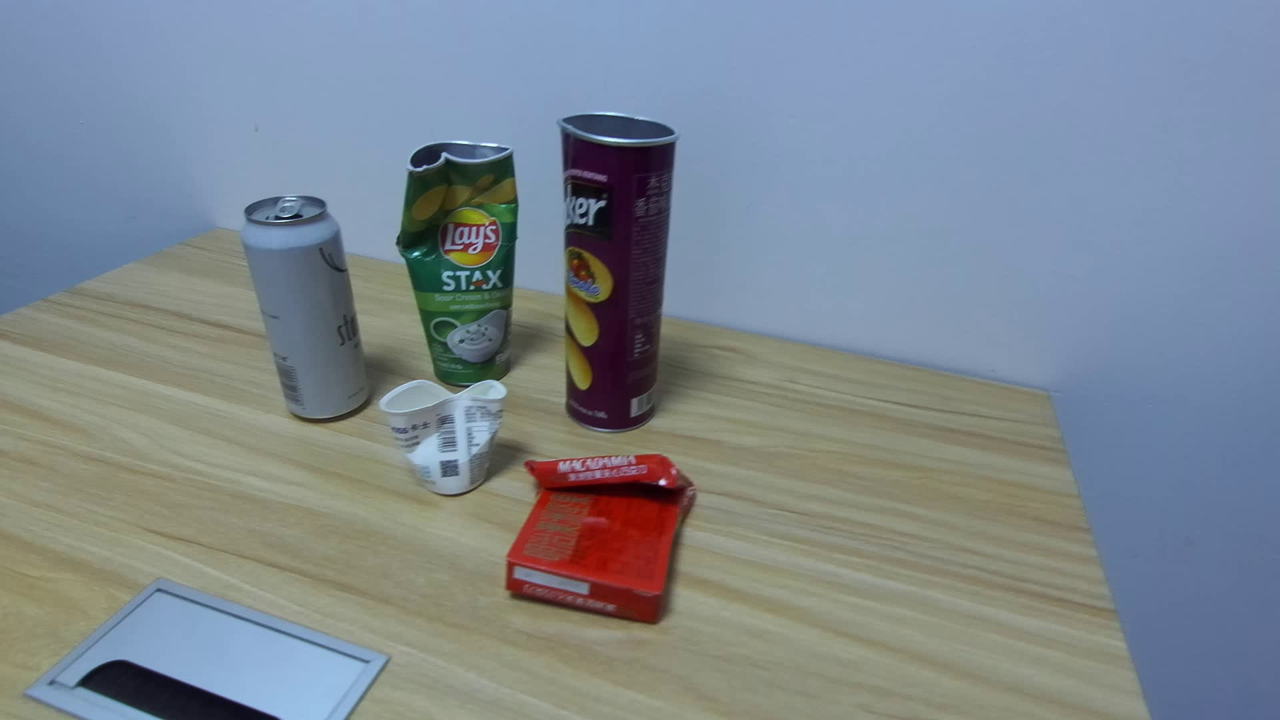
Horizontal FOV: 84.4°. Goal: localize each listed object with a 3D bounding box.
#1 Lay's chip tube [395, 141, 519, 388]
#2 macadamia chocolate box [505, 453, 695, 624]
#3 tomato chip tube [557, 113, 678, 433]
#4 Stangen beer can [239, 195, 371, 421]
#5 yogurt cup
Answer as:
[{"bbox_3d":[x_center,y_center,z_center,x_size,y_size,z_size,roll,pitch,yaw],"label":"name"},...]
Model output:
[{"bbox_3d":[-0.149,-0.077,0.593,0.069,0.201,0.077,22,39,27],"label":"Lay's chip tube"},{"bbox_3d":[-0.030,0.106,0.465,0.112,0.056,0.126,-4,32,16],"label":"macadamia chocolate box"},{"bbox_3d":[-0.019,-0.059,0.538,0.077,0.234,0.080,-6,32,-14],"label":"tomato chip tube"},{"bbox_3d":[-0.256,-0.037,0.546,0.067,0.171,0.067,3,32,-1],"label":"Stangen beer can"},{"bbox_3d":[-0.137,0.053,0.506,0.076,0.071,0.053,-24,41,-34],"label":"yogurt cup"}]
